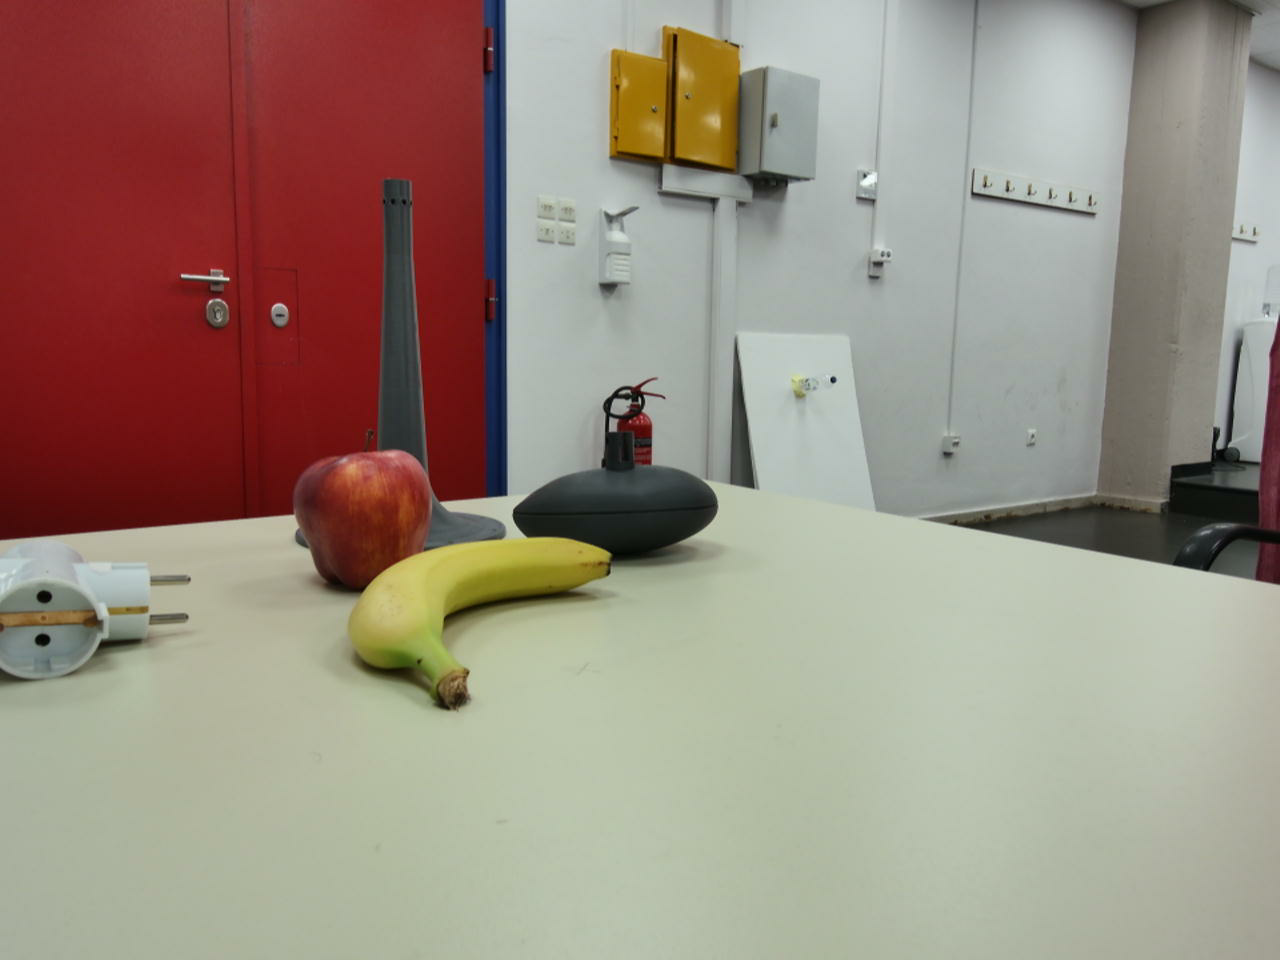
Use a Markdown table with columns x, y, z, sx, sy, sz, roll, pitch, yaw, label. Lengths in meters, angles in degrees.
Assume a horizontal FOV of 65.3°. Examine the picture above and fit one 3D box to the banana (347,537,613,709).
| x | y | z | sx | sy | sz | roll | pitch | yaw | label |
| --- | --- | --- | --- | --- | --- | --- | --- | --- | --- |
| -0.086 | 0.058 | 0.494 | 0.094 | 0.041 | 0.196 | 2 | 6 | 17 | banana |
